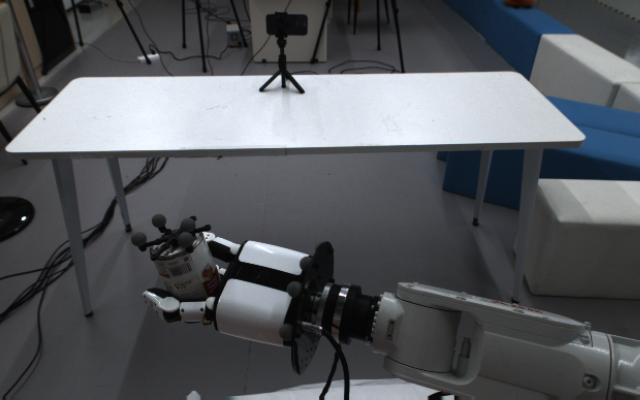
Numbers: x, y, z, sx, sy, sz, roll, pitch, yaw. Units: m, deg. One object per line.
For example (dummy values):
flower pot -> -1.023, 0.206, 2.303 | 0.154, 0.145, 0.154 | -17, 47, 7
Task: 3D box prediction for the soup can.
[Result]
soup can -> -0.161, 0.094, 0.601 | 0.067, 0.101, 0.067 | -11, 27, 6
